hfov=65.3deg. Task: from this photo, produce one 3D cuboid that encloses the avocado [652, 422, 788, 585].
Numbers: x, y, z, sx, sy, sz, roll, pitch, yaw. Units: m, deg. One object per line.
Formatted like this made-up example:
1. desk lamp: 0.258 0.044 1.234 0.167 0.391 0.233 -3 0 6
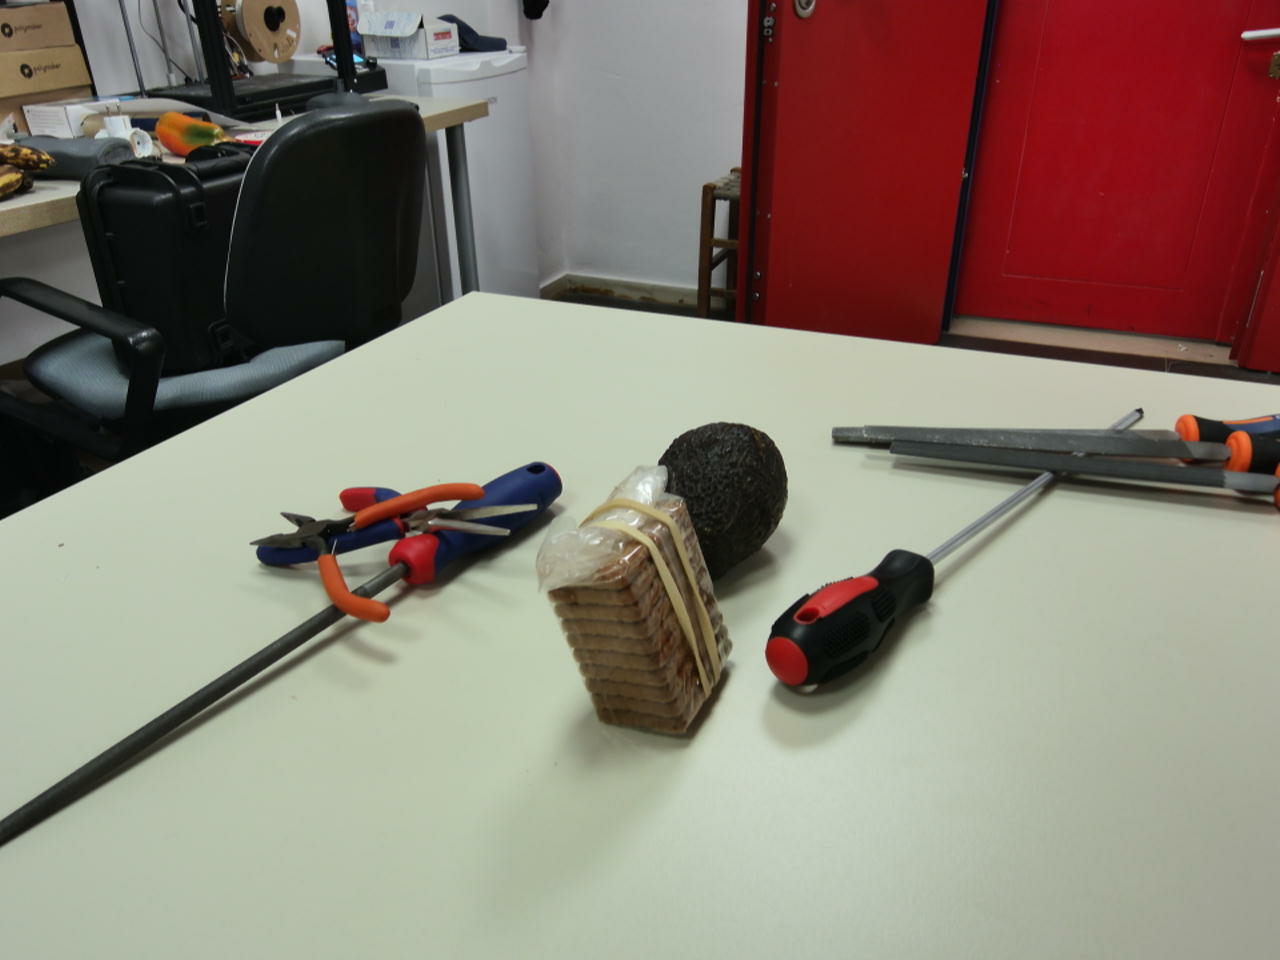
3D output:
1. avocado: 0.038 0.007 0.518 0.090 0.069 0.070 -20 31 -36
